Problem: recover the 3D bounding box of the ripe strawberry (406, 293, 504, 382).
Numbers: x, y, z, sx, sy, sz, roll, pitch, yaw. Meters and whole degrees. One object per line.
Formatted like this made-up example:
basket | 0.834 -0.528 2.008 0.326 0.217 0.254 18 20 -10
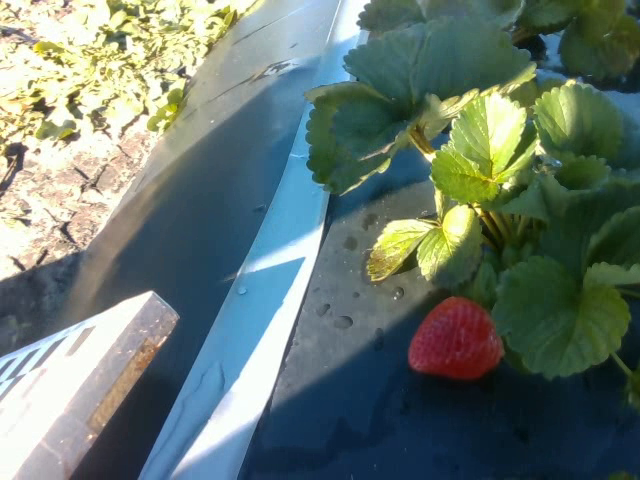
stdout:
ripe strawberry | 0.064 0.050 0.303 0.058 0.042 0.045 -29 16 -21
